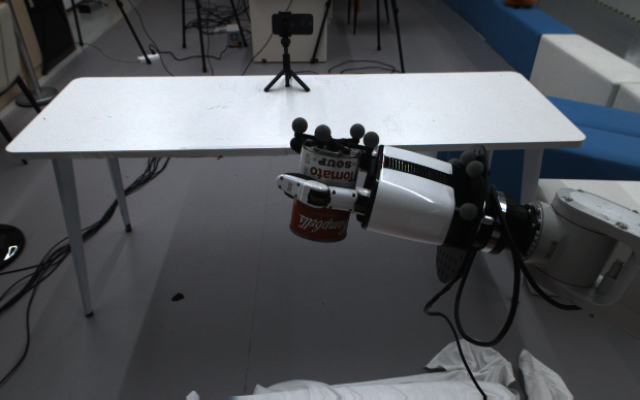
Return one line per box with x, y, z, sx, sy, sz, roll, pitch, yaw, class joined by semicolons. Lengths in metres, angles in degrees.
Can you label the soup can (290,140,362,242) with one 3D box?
0.007;-0.012;0.546;0.067;0.101;0.067;9;19;-3;soup can
